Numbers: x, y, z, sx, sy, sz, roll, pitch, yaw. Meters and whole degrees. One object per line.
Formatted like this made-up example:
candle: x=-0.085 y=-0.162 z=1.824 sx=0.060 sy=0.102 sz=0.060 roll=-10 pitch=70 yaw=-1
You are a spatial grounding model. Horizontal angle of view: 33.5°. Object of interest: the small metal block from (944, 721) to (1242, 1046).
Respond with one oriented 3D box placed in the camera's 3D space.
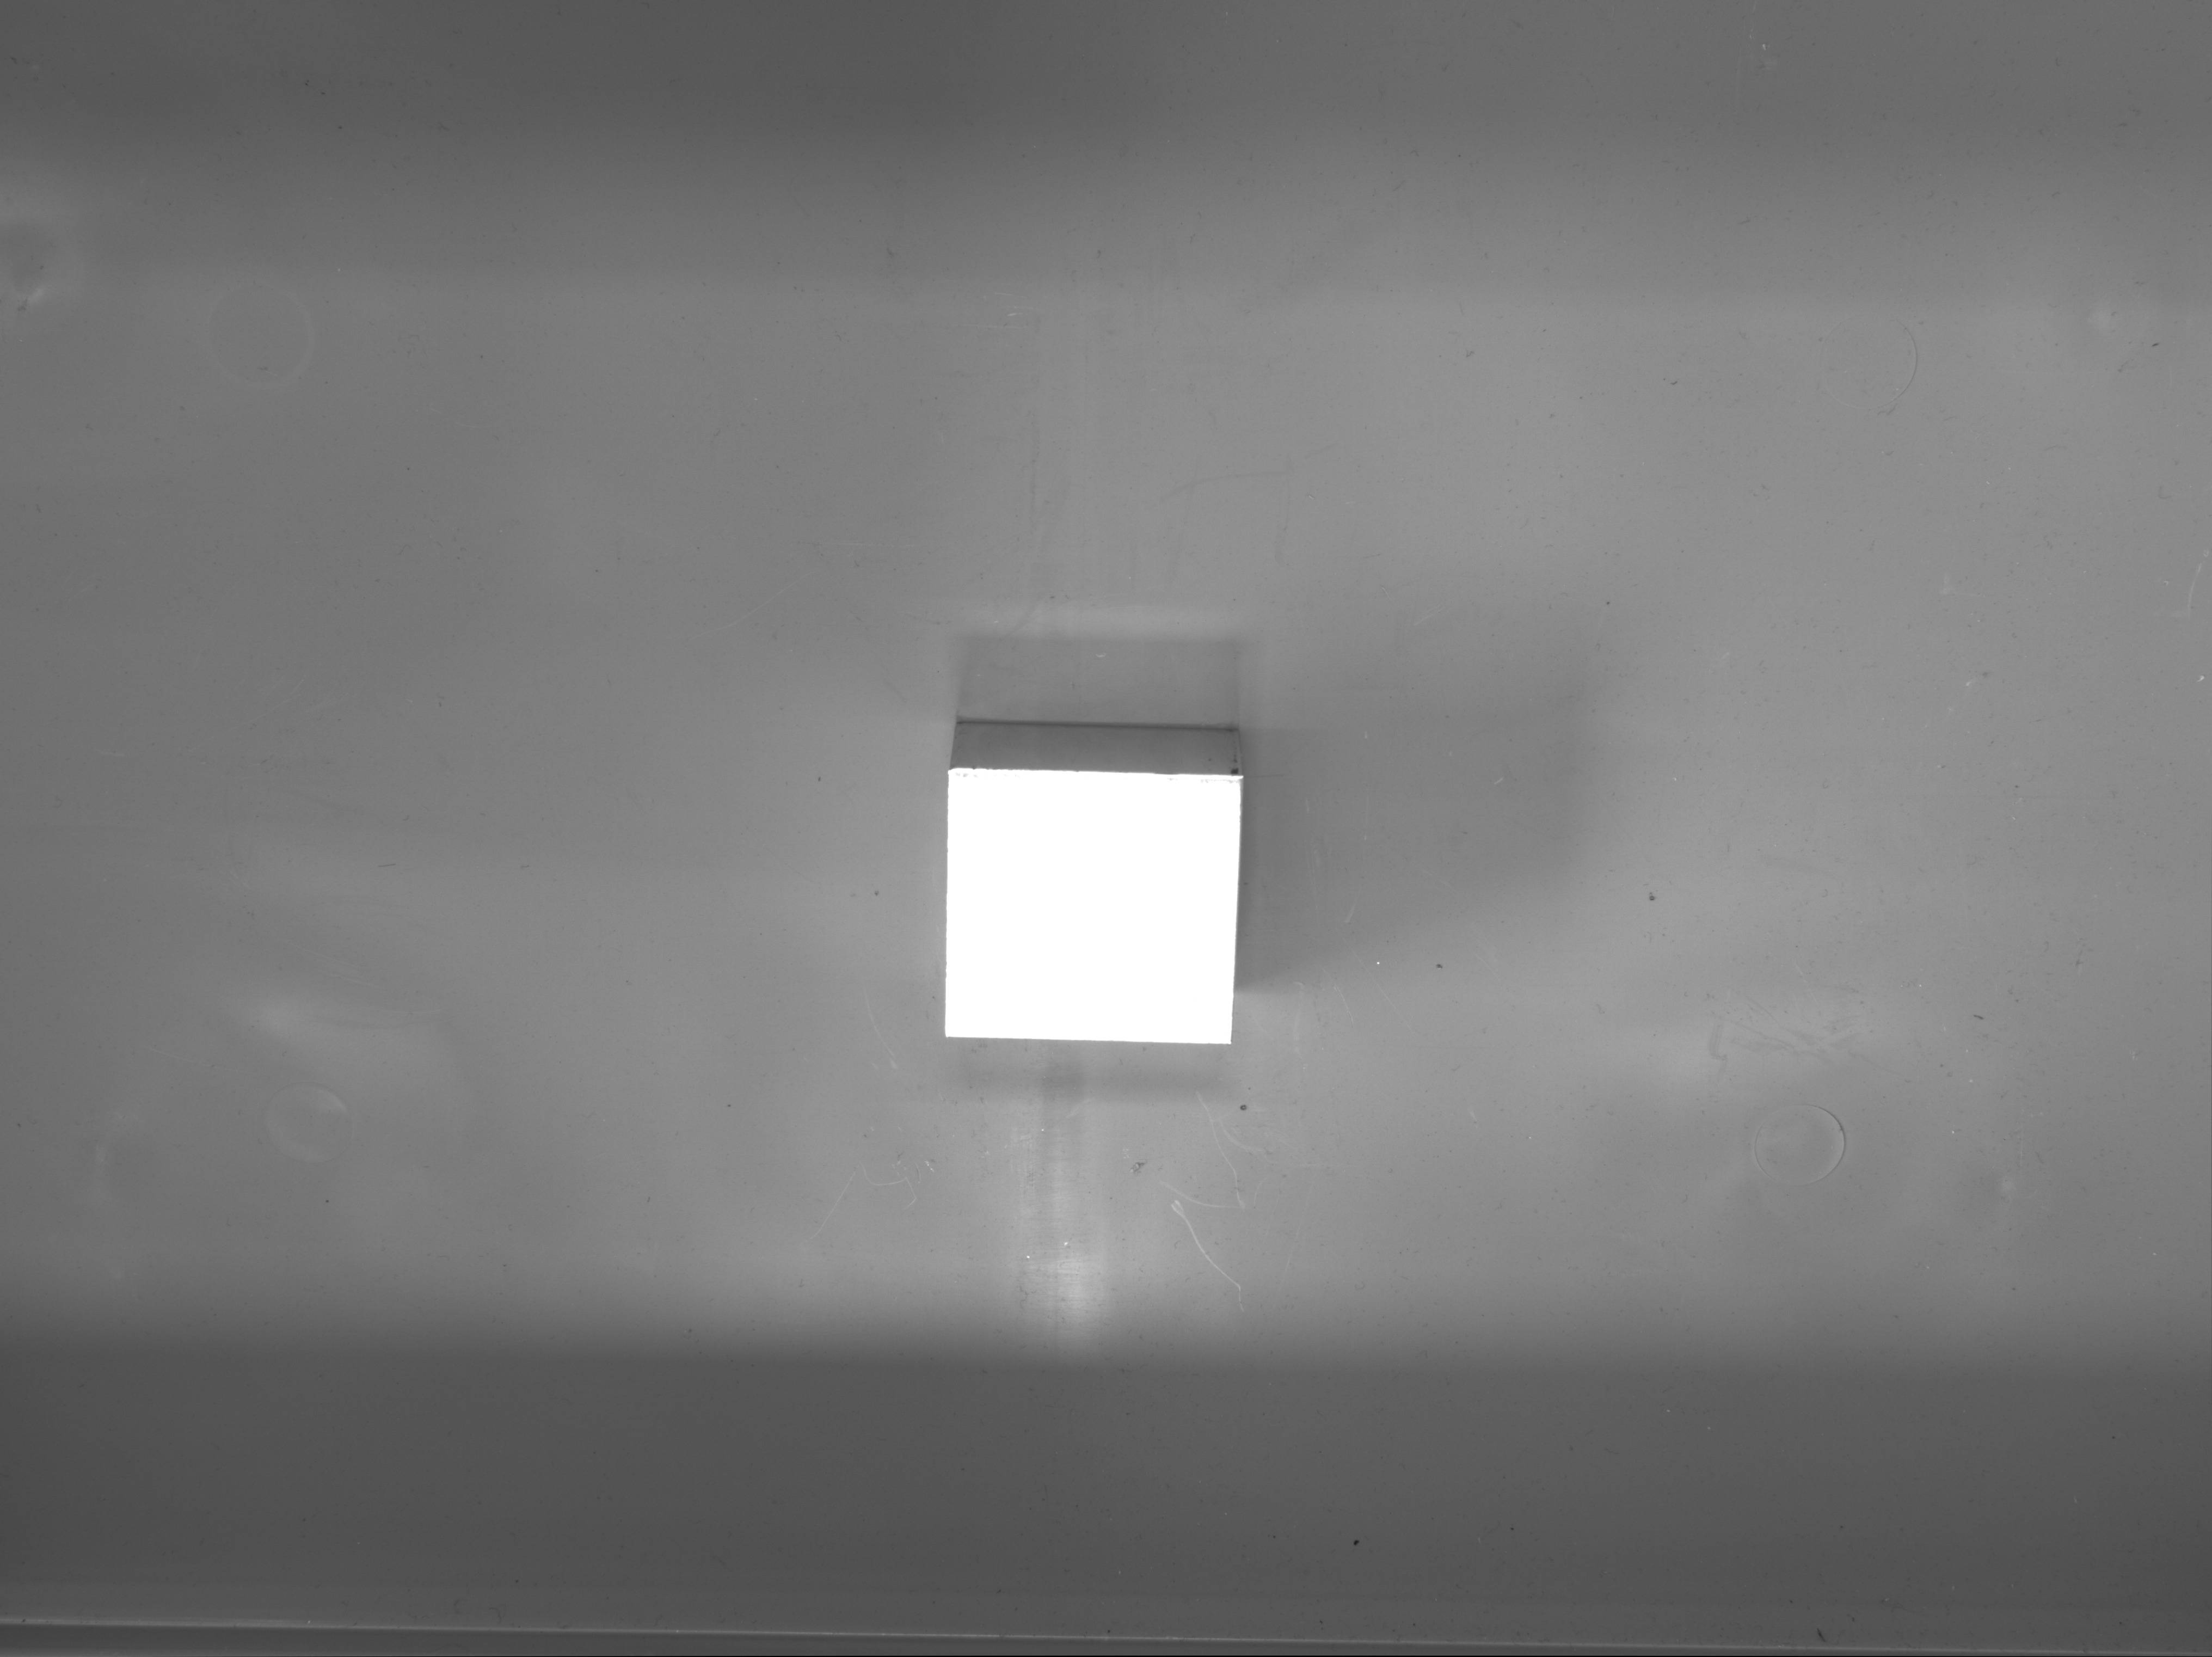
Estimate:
small metal block: x=-0.002 y=0.010 z=0.644 sx=0.050 sy=0.025 sz=0.050 roll=2 pitch=110 yaw=0
